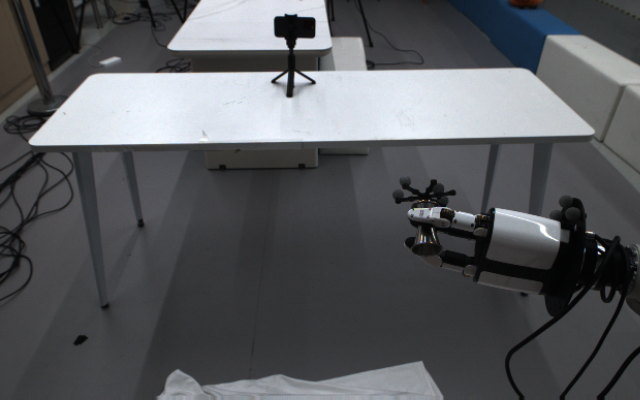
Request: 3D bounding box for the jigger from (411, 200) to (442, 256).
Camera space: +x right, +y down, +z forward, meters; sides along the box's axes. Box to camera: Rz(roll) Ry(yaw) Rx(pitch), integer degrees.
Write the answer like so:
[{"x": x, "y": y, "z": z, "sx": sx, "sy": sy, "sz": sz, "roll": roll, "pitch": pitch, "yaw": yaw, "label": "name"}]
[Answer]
[{"x": 0.148, "y": 0.036, "z": 0.680, "sx": 0.043, "sy": 0.043, "sz": 0.071, "roll": 4, "pitch": 61, "yaw": 3, "label": "jigger"}]
